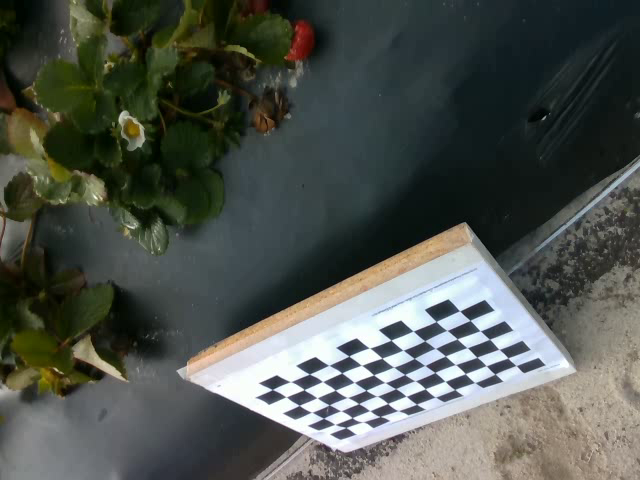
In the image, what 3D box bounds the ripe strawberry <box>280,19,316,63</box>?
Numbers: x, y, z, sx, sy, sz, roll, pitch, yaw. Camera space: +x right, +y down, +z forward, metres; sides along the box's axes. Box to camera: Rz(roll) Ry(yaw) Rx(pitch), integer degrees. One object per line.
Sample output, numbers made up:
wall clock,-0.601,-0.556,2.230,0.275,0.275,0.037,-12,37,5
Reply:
ripe strawberry,-0.018,-0.099,0.233,0.021,0.021,0.027,7,-32,-32
